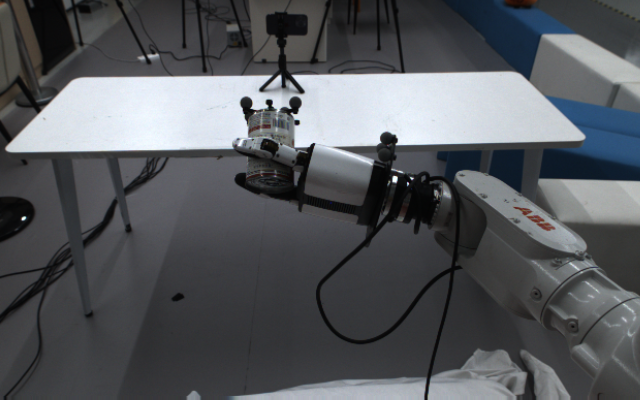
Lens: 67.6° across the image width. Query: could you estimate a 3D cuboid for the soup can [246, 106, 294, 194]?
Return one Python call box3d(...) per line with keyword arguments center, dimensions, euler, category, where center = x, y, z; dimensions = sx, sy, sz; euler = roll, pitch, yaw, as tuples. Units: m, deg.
box3d(center=(-0.068, -0.067, 0.672), dimensions=(0.067, 0.067, 0.101), euler=(1, 73, -2), category="soup can")
